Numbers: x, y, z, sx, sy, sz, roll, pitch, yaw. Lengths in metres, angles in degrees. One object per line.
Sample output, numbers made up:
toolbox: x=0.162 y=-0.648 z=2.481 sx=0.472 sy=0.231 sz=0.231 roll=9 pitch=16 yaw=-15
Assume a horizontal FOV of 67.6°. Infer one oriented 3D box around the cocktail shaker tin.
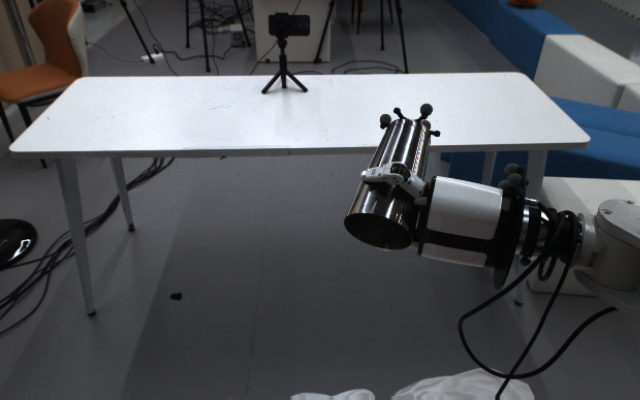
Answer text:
cocktail shaker tin: x=0.101 y=-0.028 z=0.666 sx=0.093 sy=0.093 sz=0.170 roll=14 pitch=60 yaw=16
